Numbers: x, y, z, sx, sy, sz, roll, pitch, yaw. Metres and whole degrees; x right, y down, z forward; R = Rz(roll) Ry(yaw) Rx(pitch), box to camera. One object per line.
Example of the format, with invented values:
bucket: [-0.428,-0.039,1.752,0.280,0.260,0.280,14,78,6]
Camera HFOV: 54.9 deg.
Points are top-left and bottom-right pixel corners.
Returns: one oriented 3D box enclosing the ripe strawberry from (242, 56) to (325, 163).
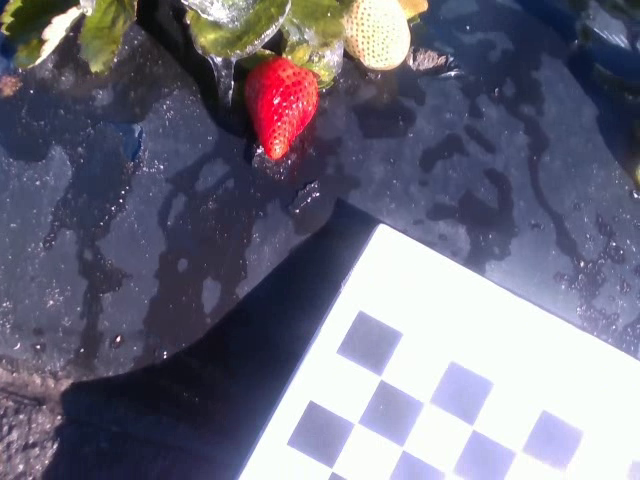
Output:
ripe strawberry: [-0.019,-0.063,0.290,0.041,0.052,0.040,13,-13,-2]
